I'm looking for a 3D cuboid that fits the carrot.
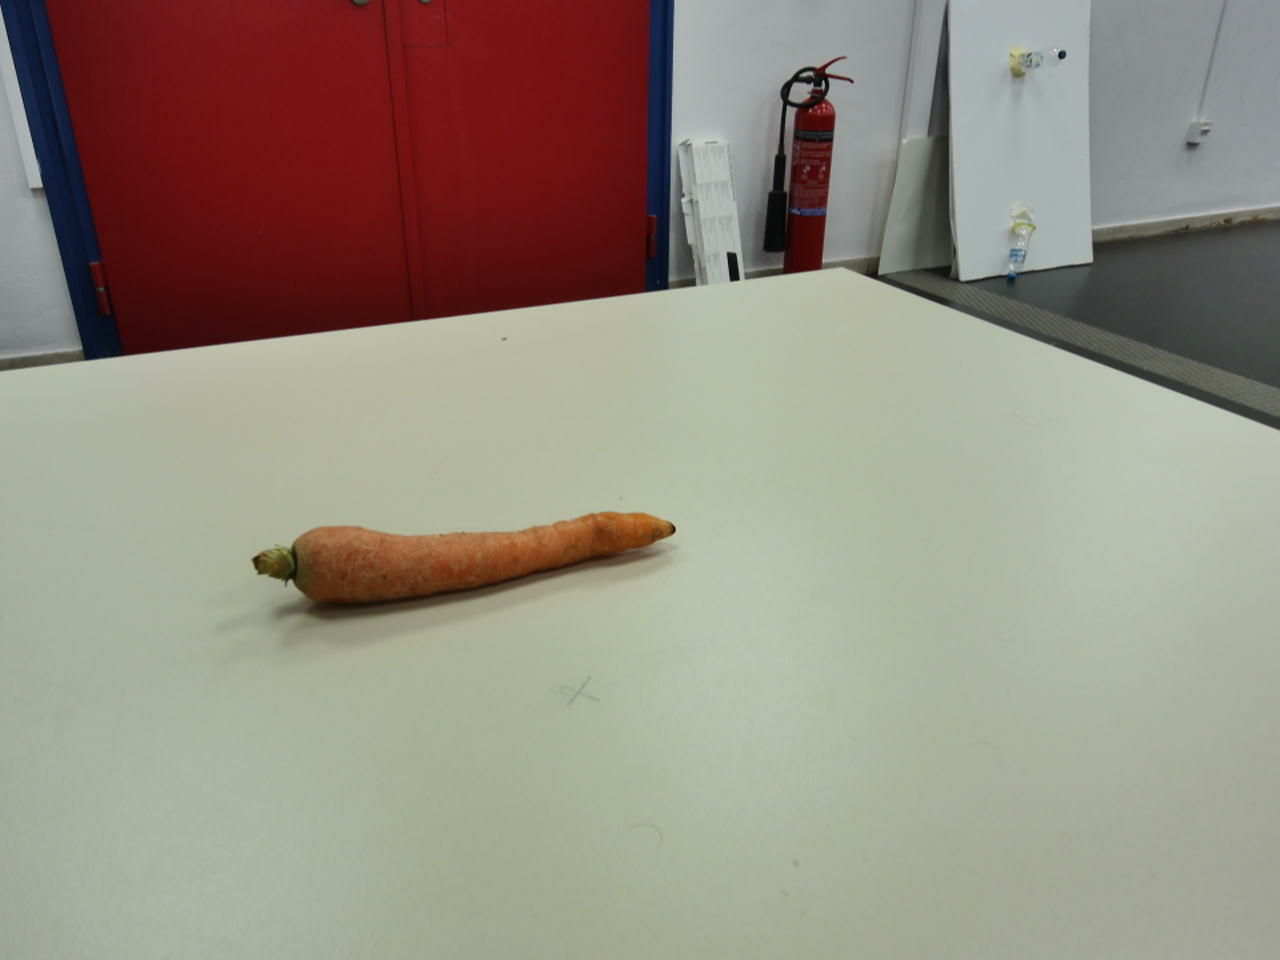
[{"bbox_3d":[-0.064,0.027,0.405,0.173,0.032,0.030,-7,25,-16],"label":"carrot"}]
